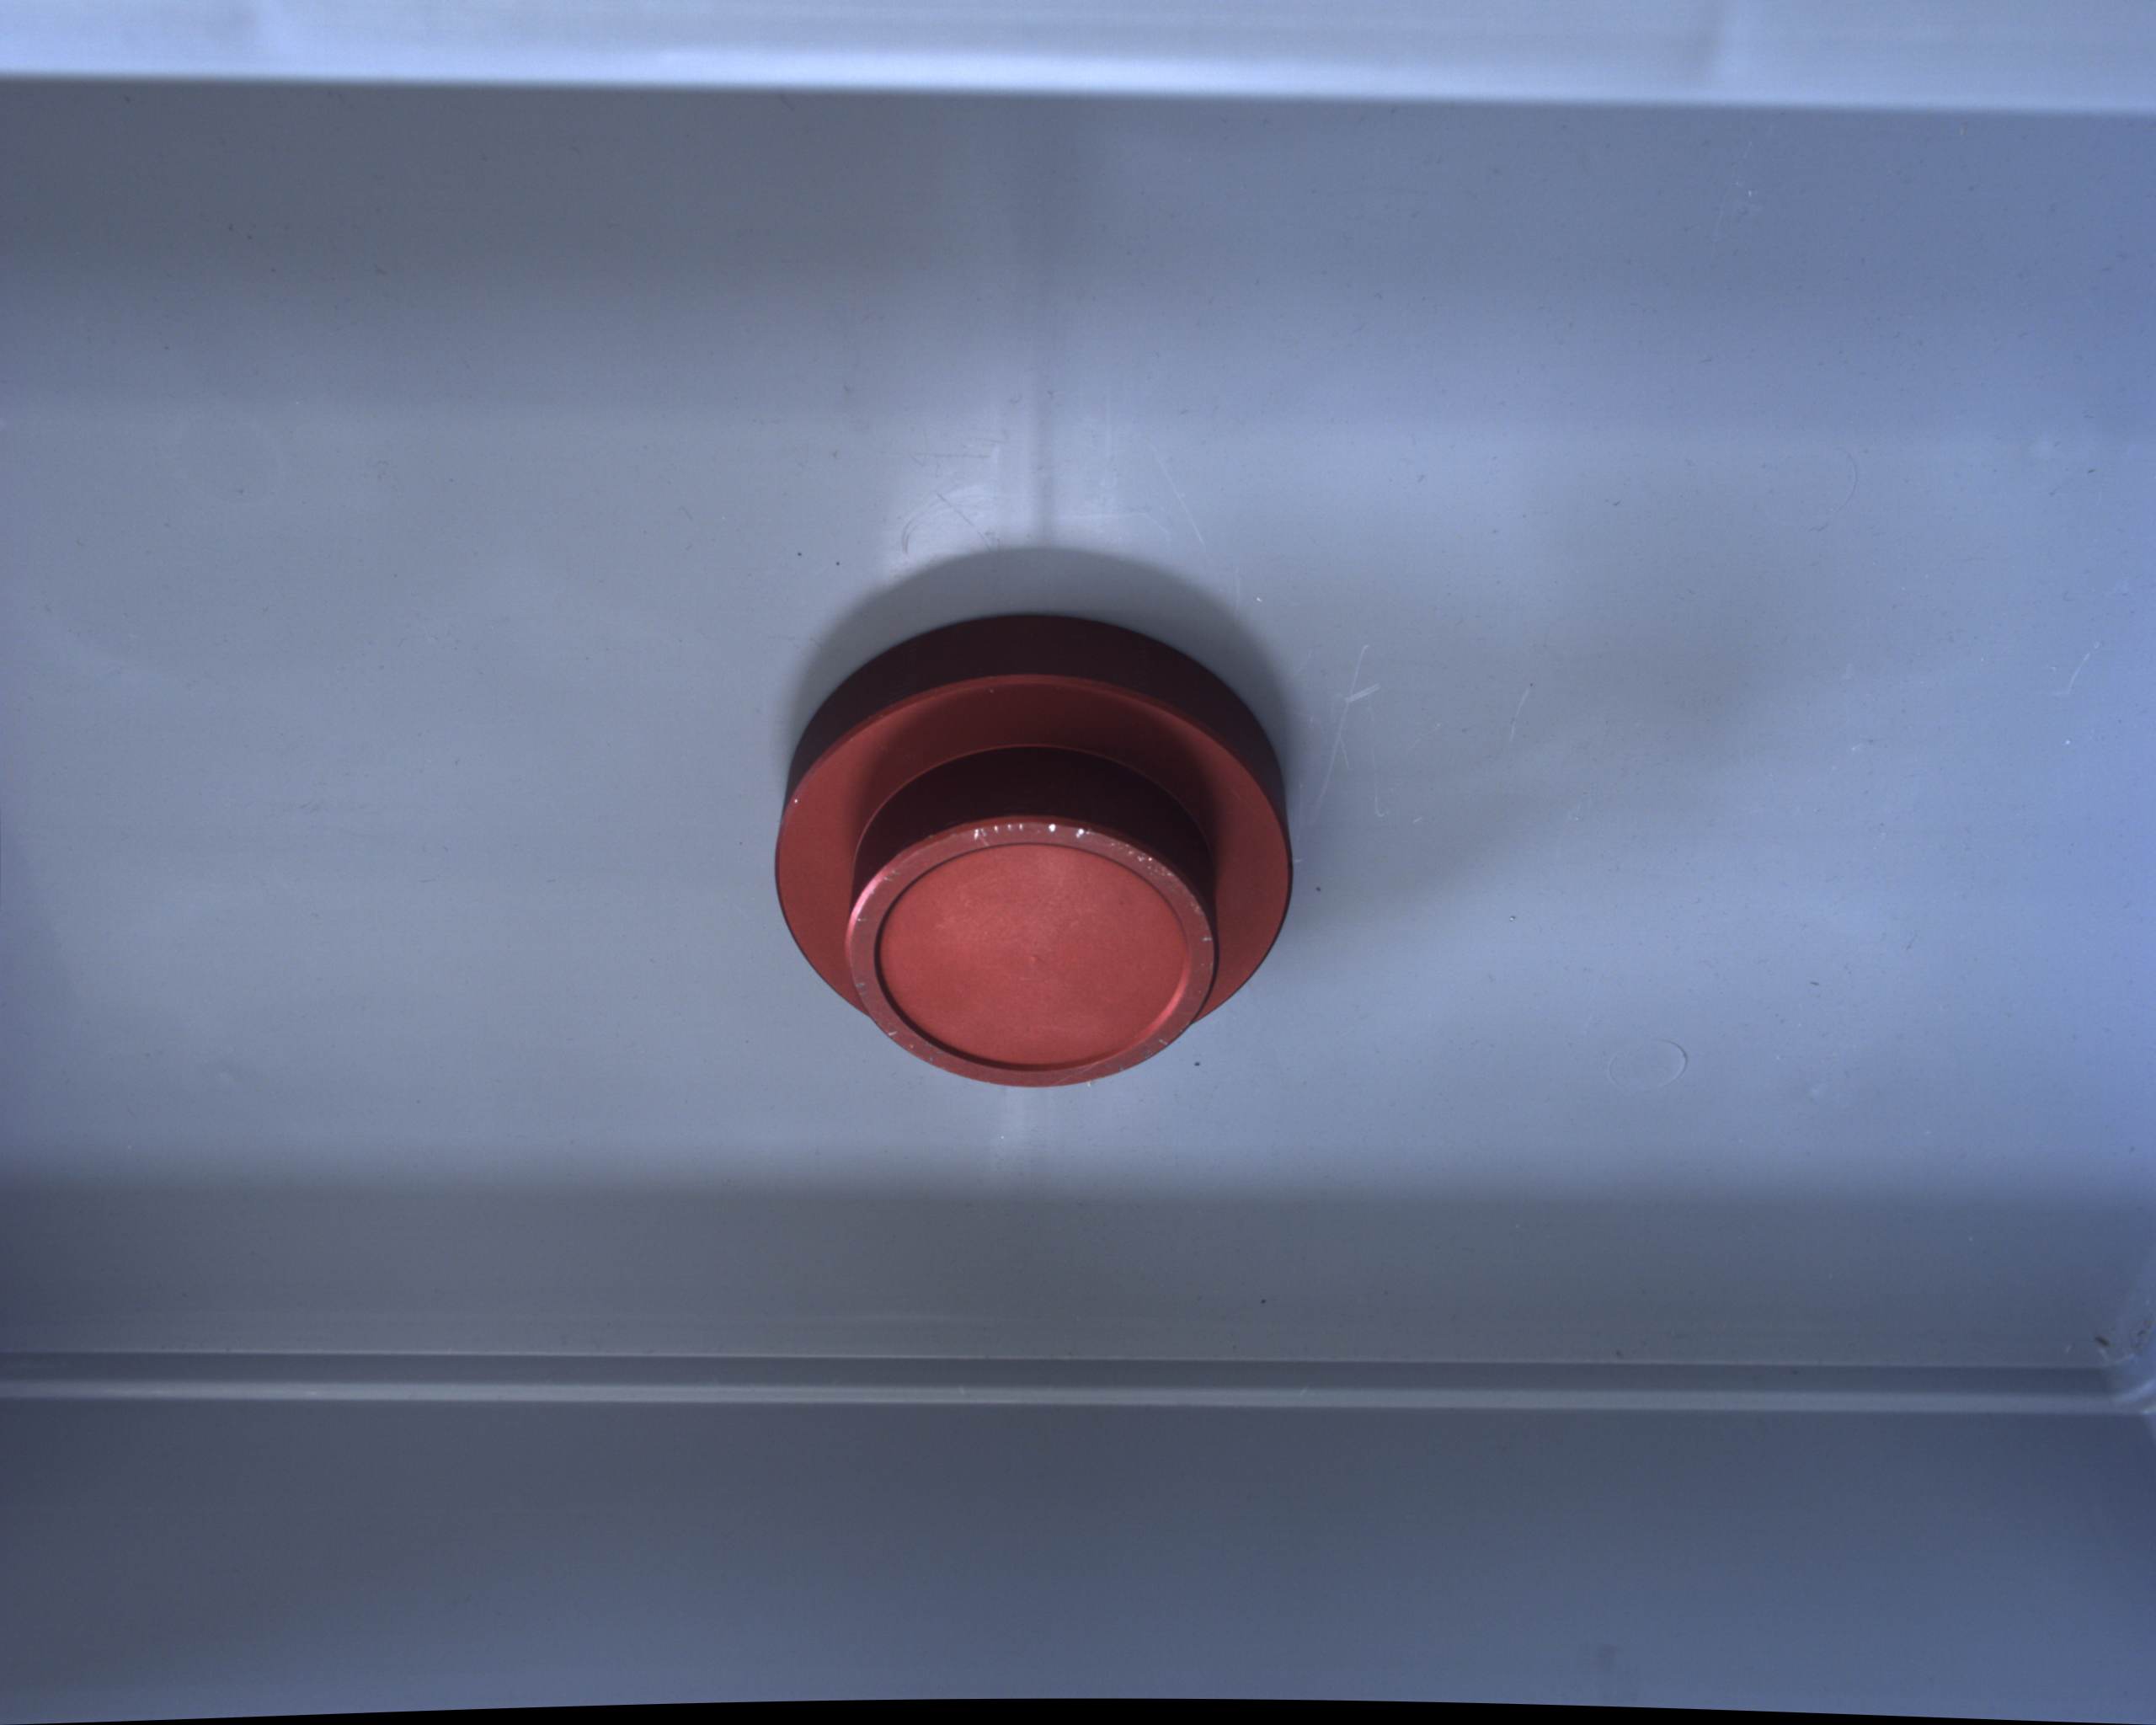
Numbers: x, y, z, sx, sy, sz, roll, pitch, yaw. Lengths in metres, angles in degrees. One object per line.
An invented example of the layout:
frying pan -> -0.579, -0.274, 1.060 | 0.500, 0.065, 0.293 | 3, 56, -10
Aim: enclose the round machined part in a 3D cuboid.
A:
round machined part -> -0.008, 0.005, 0.398 | 0.099, 0.042, 0.097 | 0, 130, 0
